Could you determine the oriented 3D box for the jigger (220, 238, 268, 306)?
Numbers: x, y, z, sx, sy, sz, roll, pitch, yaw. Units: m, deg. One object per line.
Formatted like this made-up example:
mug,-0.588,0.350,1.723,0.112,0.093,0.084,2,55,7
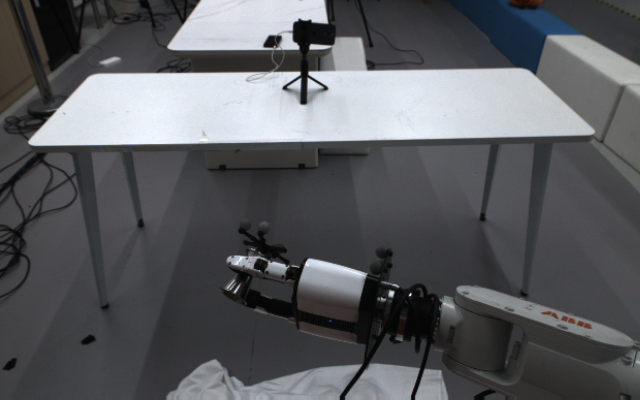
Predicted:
jigger,-0.105,0.102,0.672,0.043,0.043,0.071,19,62,23
